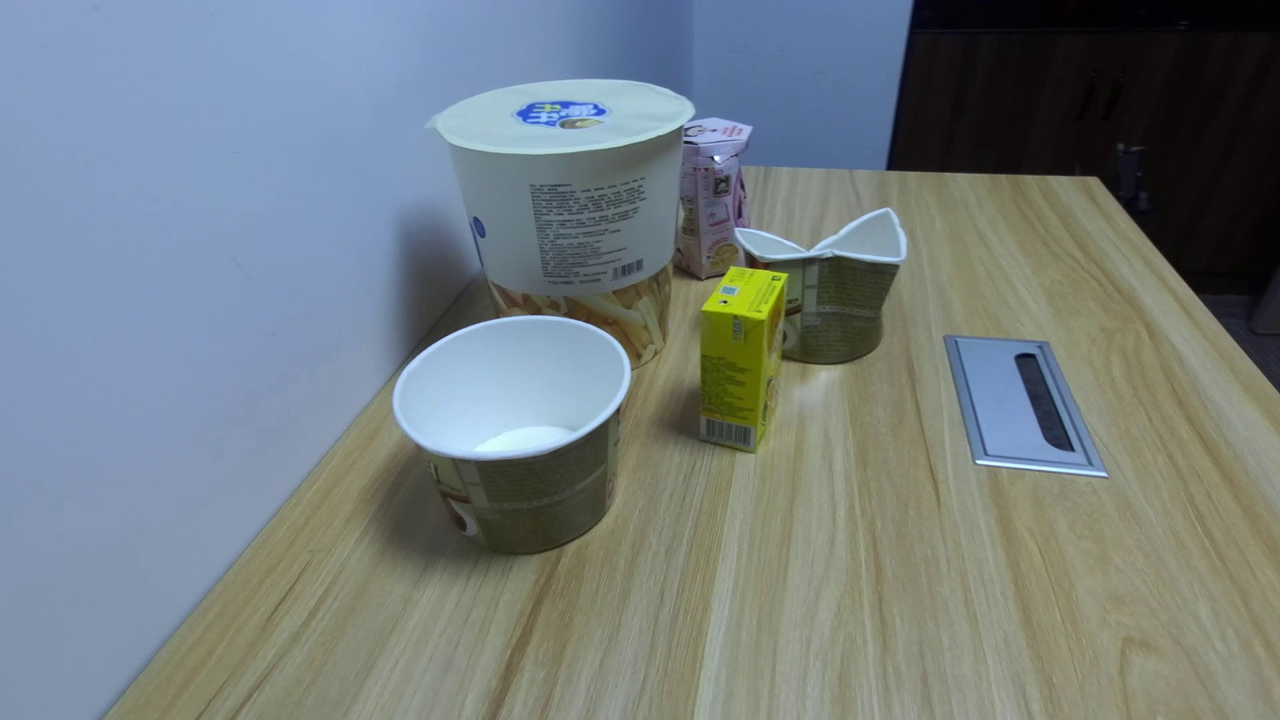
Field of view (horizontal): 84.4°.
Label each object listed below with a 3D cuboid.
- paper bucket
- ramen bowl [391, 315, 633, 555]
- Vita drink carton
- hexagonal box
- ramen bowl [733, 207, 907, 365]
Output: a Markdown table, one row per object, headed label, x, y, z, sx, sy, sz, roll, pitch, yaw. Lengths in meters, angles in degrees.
| label | x | y | z | sx | sy | sz | roll | pitch | yaw |
| --- | --- | --- | --- | --- | --- | --- | --- | --- | --- |
| paper bucket | -0.049 | -0.102 | 0.568 | 0.198 | 0.195 | 0.198 | -2 | 34 | 1 |
| ramen bowl | -0.073 | 0.048 | 0.443 | 0.140 | 0.095 | 0.140 | -2 | 35 | 1 |
| Vita drink carton | 0.070 | -0.001 | 0.483 | 0.043 | 0.109 | 0.067 | 11 | 37 | 20 |
| hexagonal box | 0.065 | -0.156 | 0.690 | 0.091 | 0.135 | 0.089 | -24 | 36 | -28 |
| ramen bowl | 0.143 | -0.065 | 0.584 | 0.128 | 0.093 | 0.111 | 2 | 36 | 7 |
